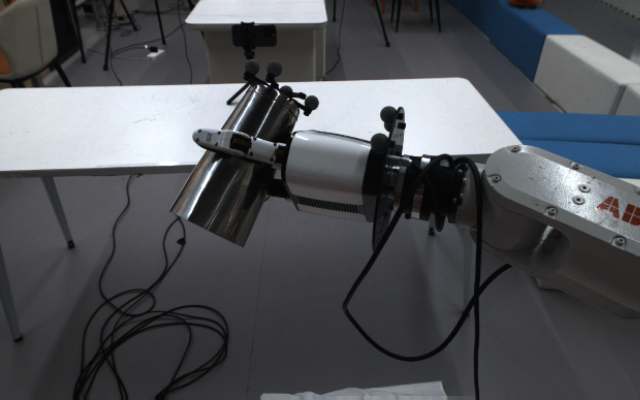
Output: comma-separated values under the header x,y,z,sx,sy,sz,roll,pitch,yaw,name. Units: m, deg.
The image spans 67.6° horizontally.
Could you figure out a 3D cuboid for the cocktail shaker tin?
x,y,z,sx,sy,sz,roll,pitch,yaw,name
-0.087,-0.045,0.551,0.093,0.093,0.170,21,81,25,cocktail shaker tin
